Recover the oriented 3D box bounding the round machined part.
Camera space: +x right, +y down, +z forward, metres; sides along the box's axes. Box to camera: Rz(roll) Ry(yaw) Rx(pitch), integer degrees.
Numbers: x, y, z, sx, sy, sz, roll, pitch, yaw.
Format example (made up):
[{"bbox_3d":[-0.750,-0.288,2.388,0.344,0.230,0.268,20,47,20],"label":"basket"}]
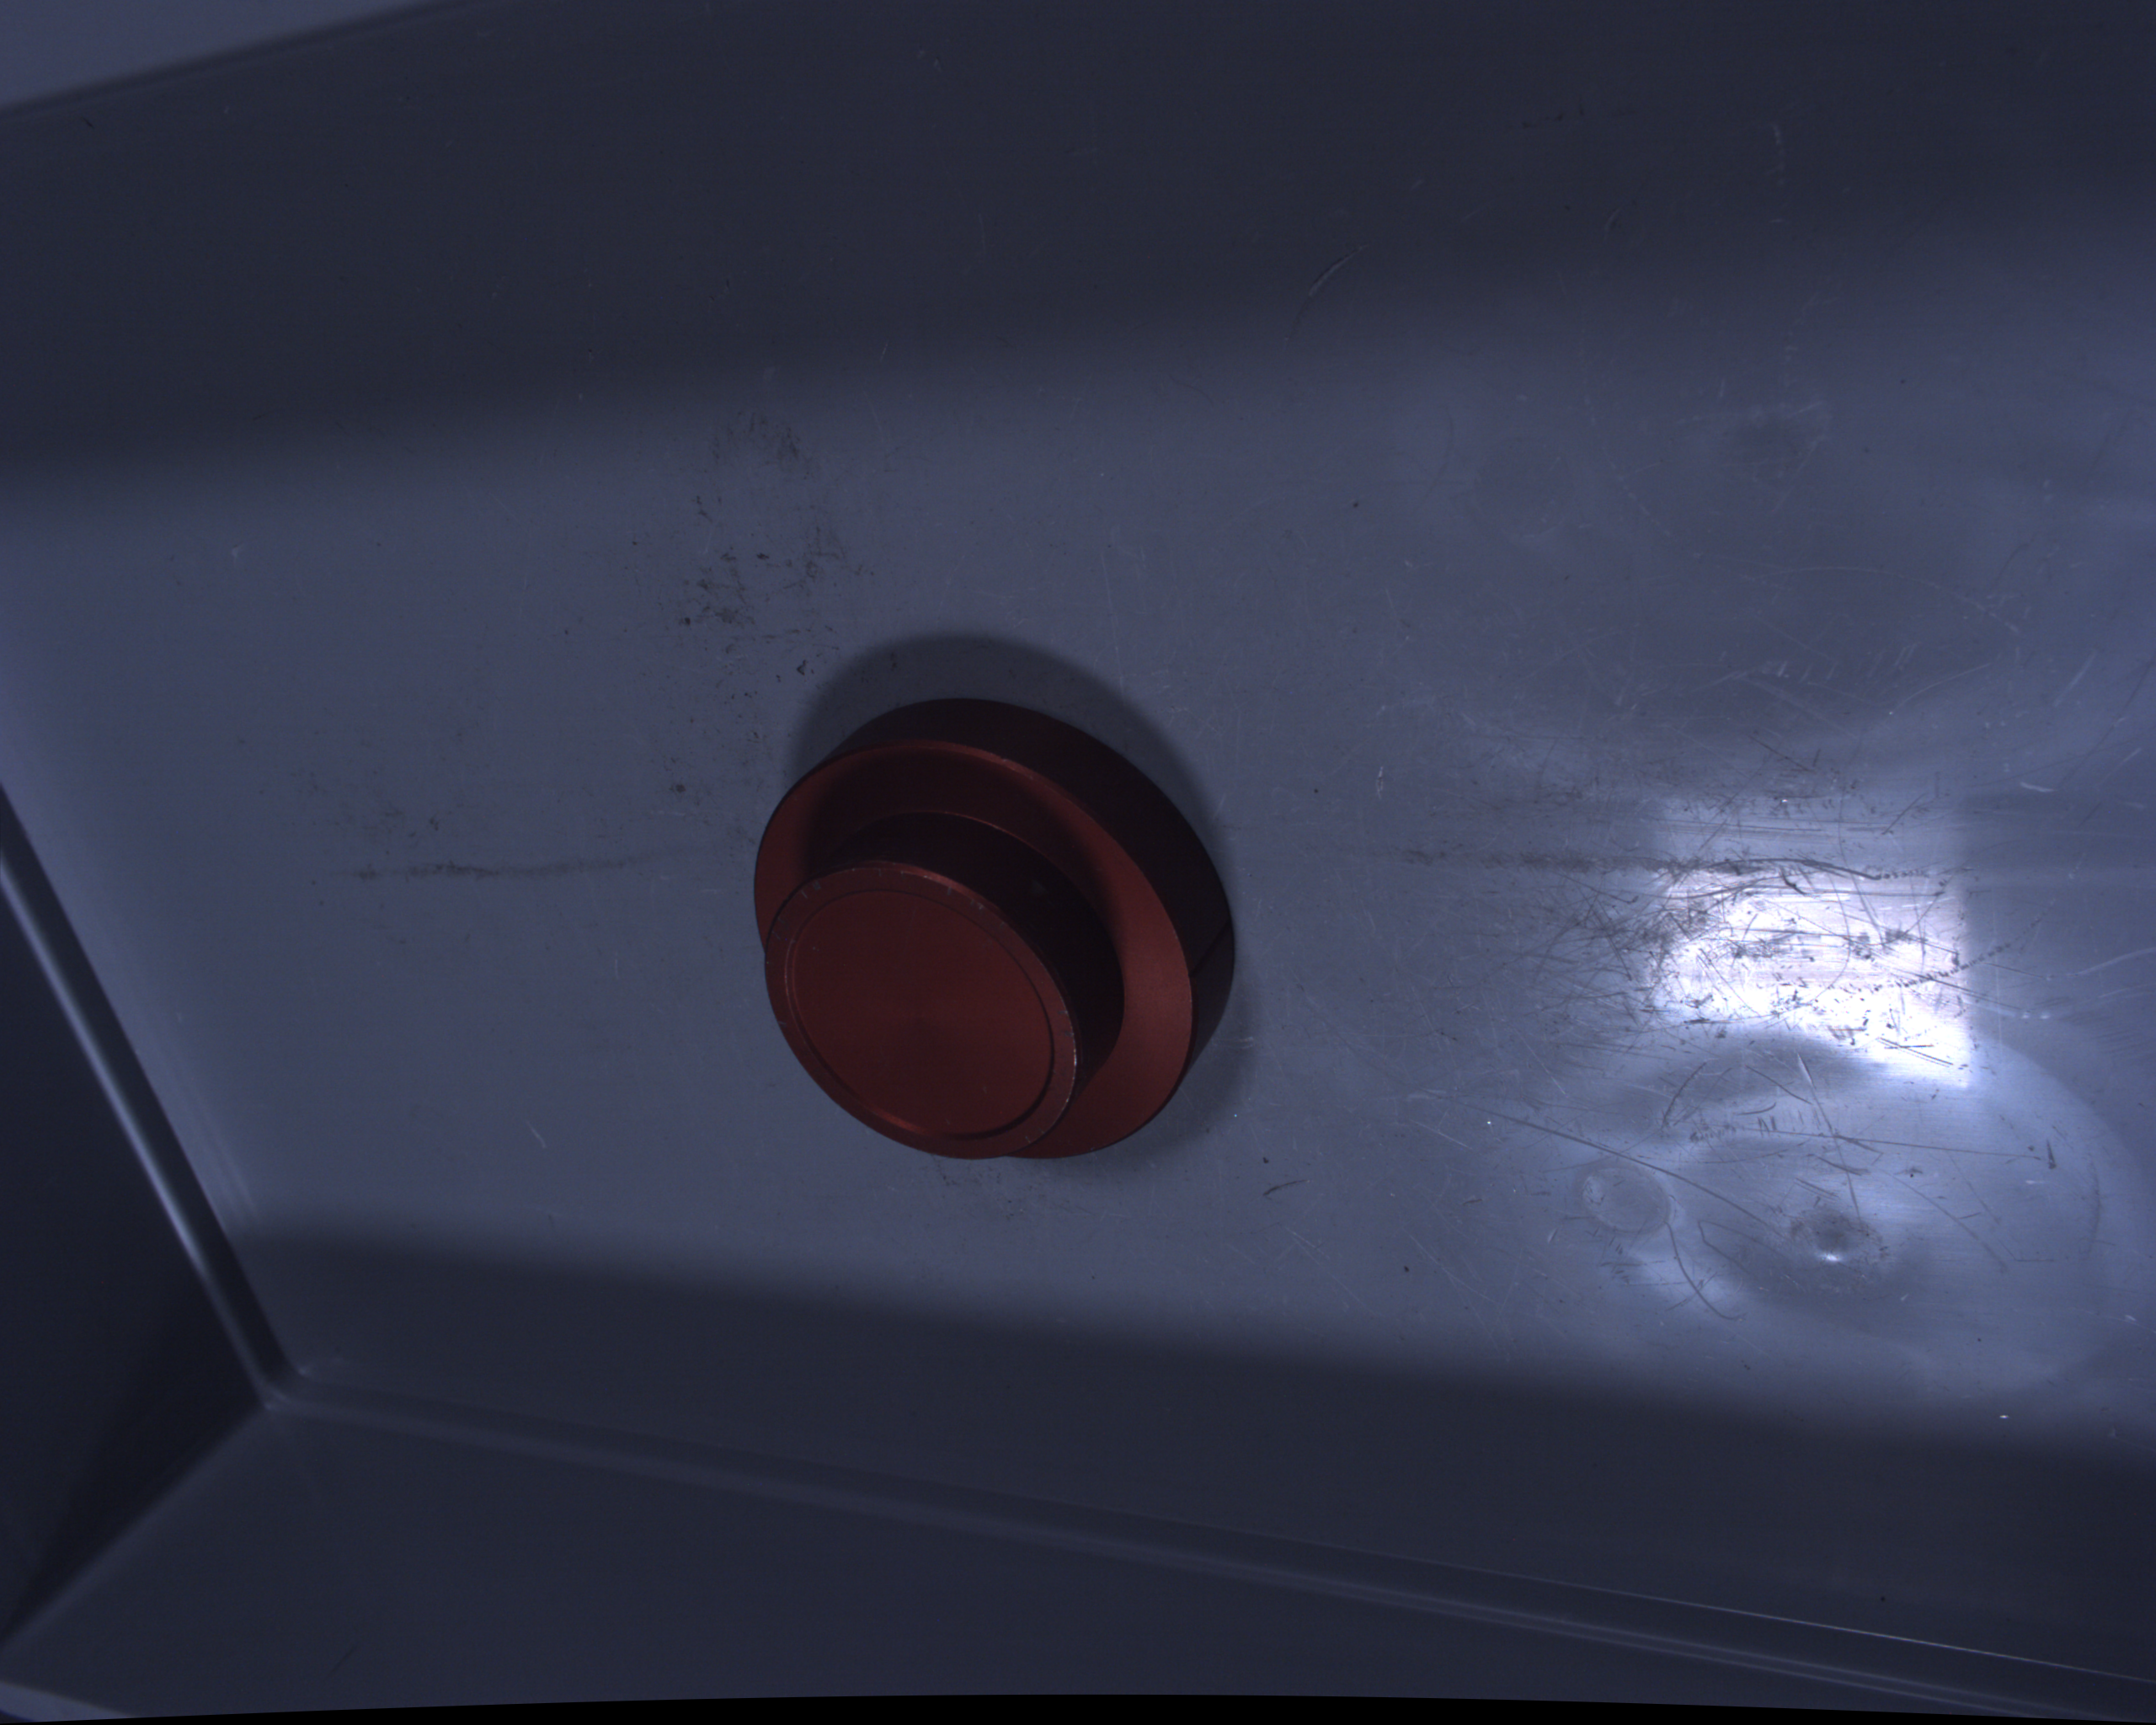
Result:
[{"bbox_3d":[-0.023,0.020,0.416,0.098,0.042,0.097,13,124,20],"label":"round machined part"}]
